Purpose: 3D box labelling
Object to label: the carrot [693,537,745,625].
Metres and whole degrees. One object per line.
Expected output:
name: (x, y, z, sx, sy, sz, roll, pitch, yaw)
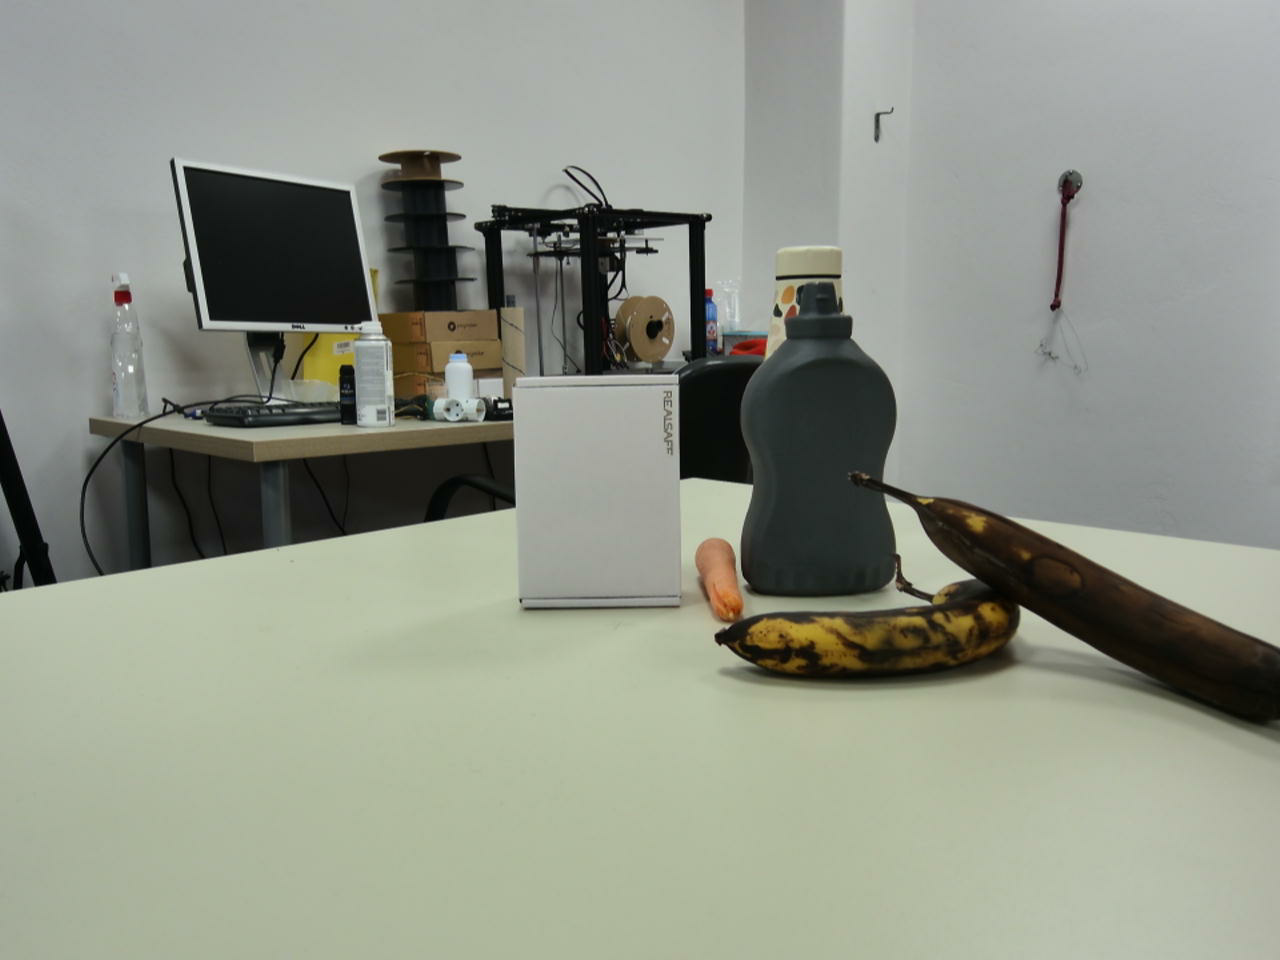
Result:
carrot: (0.052, 0.062, 0.652, 0.030, 0.032, 0.136, 1, 7, 1)
